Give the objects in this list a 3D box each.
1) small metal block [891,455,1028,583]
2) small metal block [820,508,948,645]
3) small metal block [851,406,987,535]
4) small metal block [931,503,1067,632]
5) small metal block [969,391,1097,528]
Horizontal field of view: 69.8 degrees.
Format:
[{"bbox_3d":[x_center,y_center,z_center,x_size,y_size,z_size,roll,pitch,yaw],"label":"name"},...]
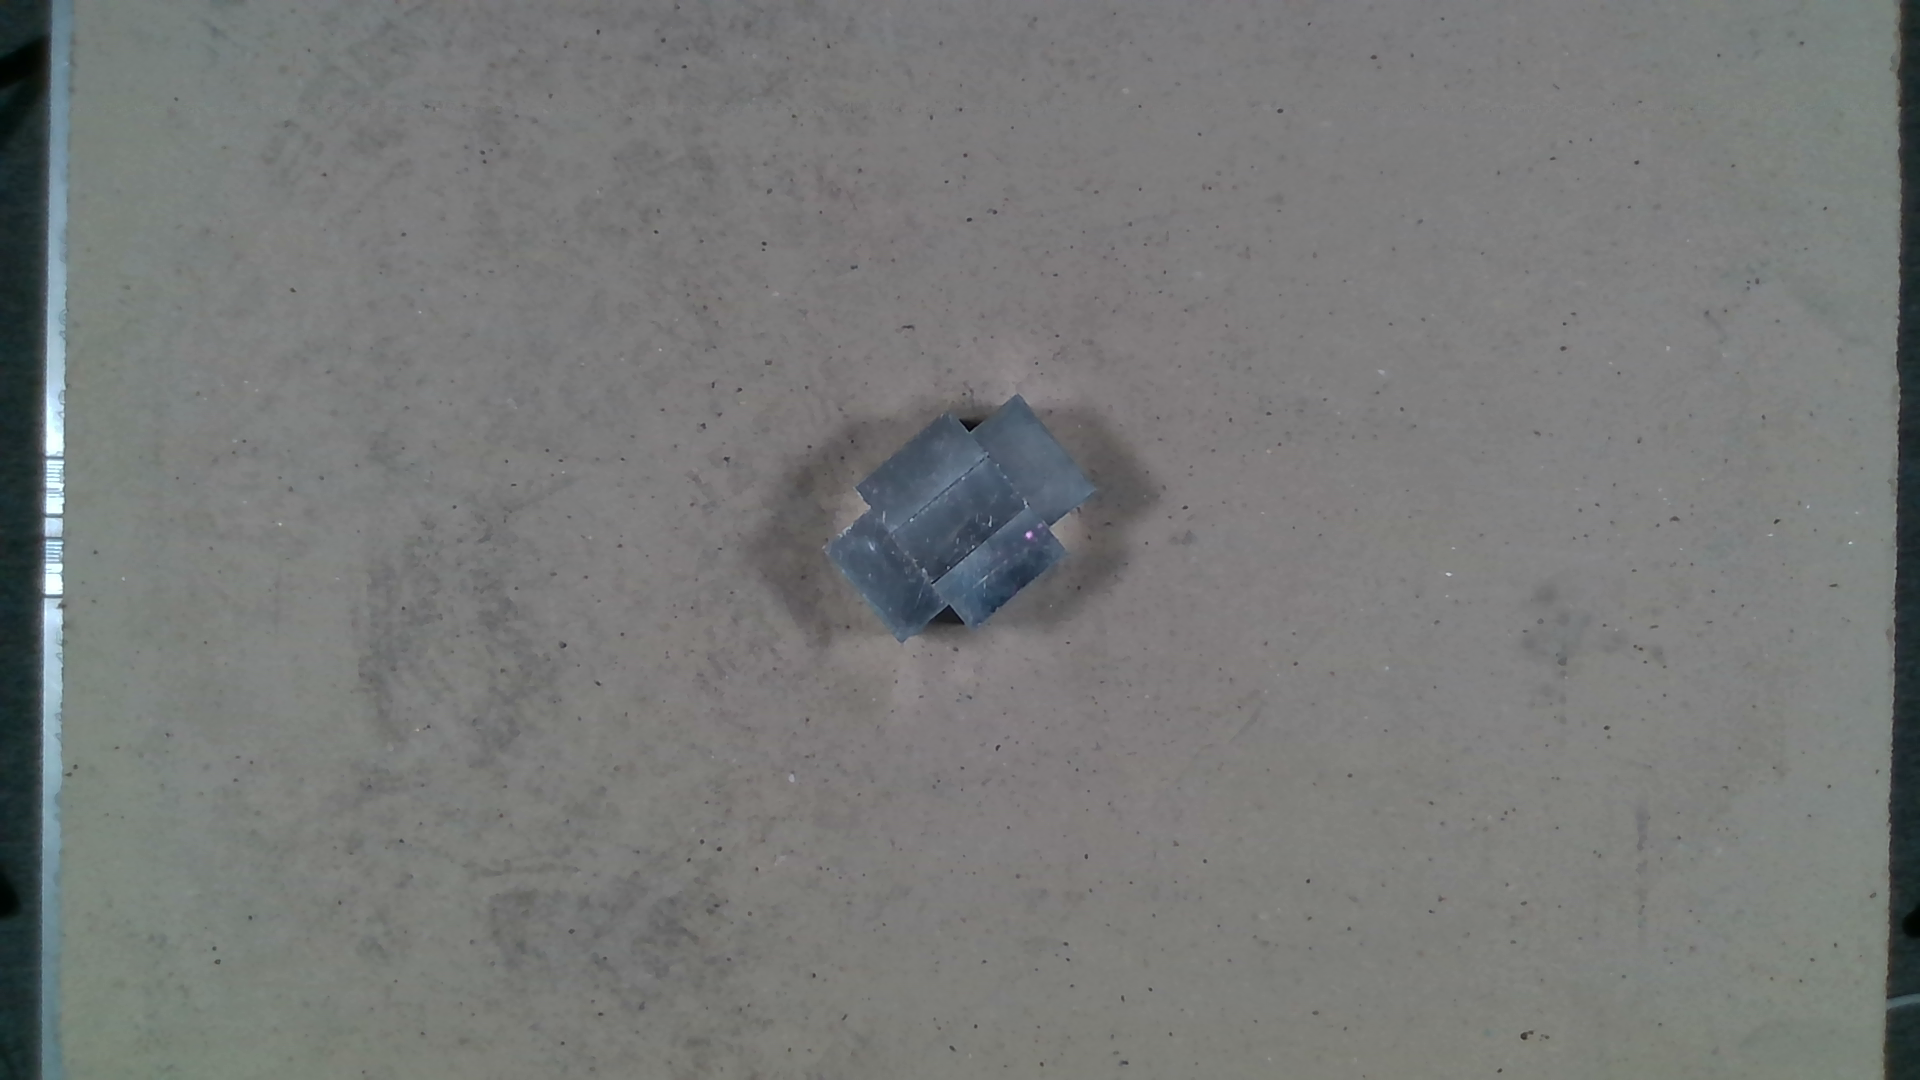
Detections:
[{"bbox_3d":[0.000,-0.008,0.574,0.050,0.050,0.025,-40,90,0],"label":"small metal block"},{"bbox_3d":[-0.030,0.014,0.574,0.025,0.050,0.050,-39,90,0],"label":"small metal block"},{"bbox_3d":[-0.016,-0.028,0.574,0.050,0.050,0.025,-40,90,0],"label":"small metal block"},{"bbox_3d":[0.016,0.011,0.574,0.050,0.050,0.025,-41,90,0],"label":"small metal block"},{"bbox_3d":[0.029,-0.032,0.574,0.025,0.050,0.050,-39,90,0],"label":"small metal block"}]
